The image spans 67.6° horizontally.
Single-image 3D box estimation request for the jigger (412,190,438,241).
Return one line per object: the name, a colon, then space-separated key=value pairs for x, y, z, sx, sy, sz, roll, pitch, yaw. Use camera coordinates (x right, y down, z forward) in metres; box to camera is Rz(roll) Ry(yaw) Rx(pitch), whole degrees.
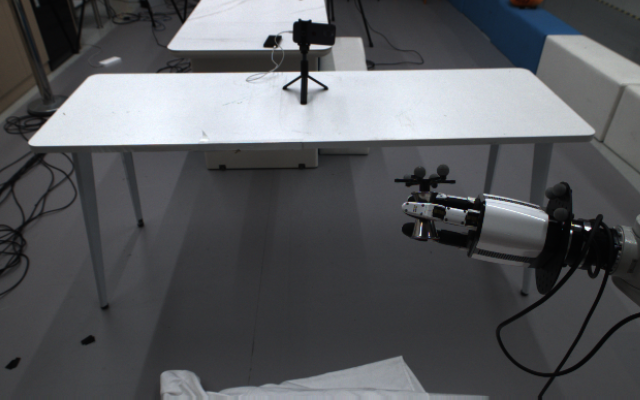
jigger: x=0.152 y=0.021 z=0.716 sx=0.043 sy=0.071 sz=0.043 roll=2 pitch=-6 yaw=0
